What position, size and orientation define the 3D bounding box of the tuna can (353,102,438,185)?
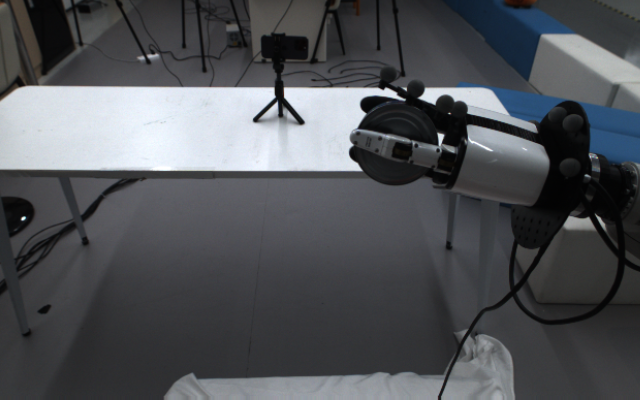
[{"bbox_3d":[0.082,-0.062,0.510,0.085,0.085,0.034,7,17,7],"label":"tuna can"}]
